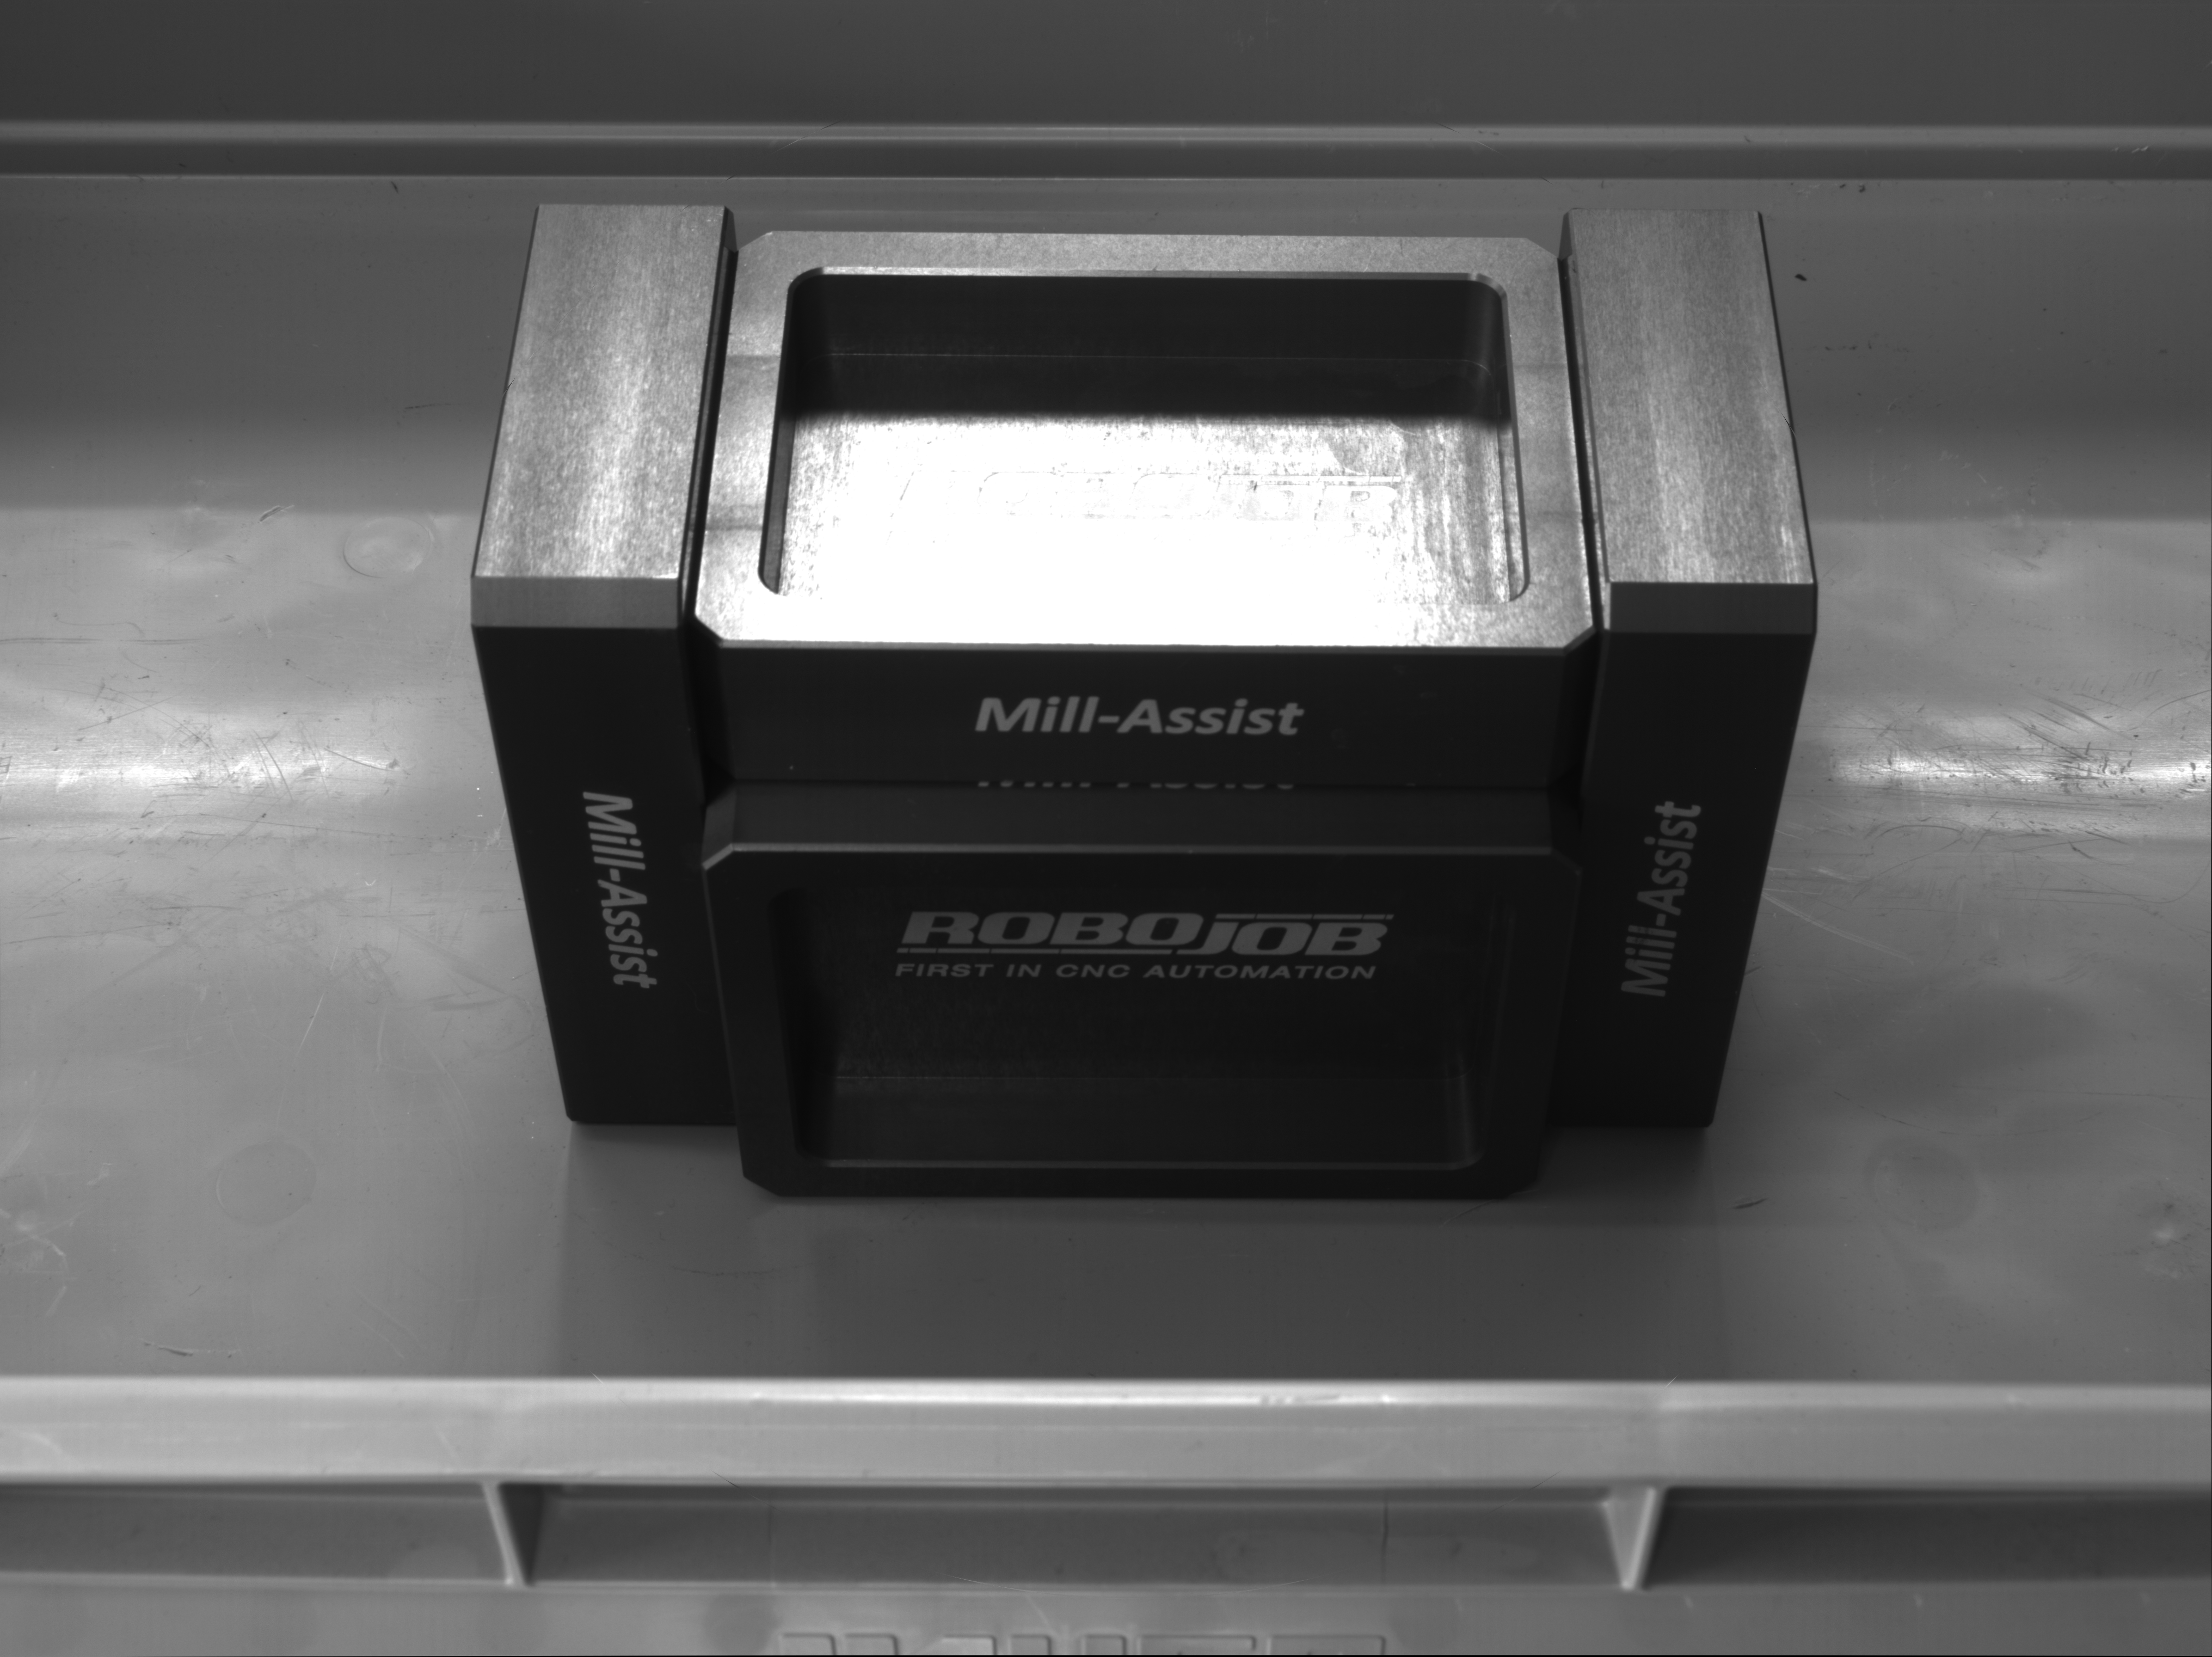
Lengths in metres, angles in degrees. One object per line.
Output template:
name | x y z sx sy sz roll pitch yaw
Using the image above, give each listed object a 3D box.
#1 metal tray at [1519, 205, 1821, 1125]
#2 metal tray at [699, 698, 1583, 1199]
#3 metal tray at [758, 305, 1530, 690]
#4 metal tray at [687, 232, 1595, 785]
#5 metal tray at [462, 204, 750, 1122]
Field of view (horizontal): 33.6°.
metal tray | 0.087 -0.024 0.591 0.030 0.130 0.090 1 50 1
metal tray | 0.005 0.021 0.579 0.130 0.090 0.030 0 49 0
metal tray | 0.007 -0.048 0.637 0.130 0.090 0.030 0 51 1
metal tray | 0.006 -0.050 0.561 0.130 0.030 0.090 1 49 1
metal tray | -0.075 -0.024 0.592 0.030 0.130 0.090 0 50 1
